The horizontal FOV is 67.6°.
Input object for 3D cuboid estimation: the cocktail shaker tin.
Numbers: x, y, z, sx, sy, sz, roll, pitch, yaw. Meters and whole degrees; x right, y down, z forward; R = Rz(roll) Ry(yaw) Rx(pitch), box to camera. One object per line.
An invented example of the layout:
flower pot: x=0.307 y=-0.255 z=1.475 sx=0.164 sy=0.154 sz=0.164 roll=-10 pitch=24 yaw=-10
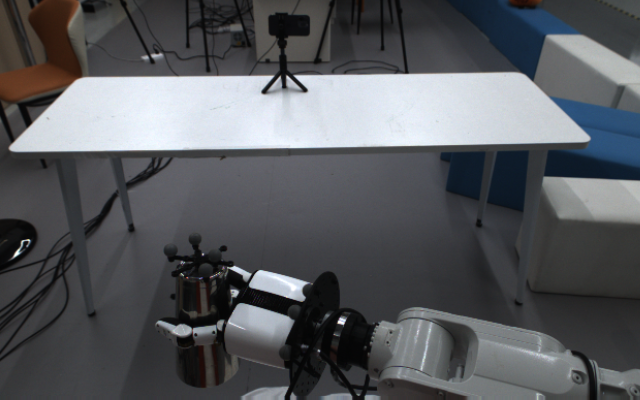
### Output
cocktail shaker tin: x=-0.159 y=0.163 z=0.668 sx=0.093 sy=0.170 sz=0.093 roll=2 pitch=25 yaw=-1
